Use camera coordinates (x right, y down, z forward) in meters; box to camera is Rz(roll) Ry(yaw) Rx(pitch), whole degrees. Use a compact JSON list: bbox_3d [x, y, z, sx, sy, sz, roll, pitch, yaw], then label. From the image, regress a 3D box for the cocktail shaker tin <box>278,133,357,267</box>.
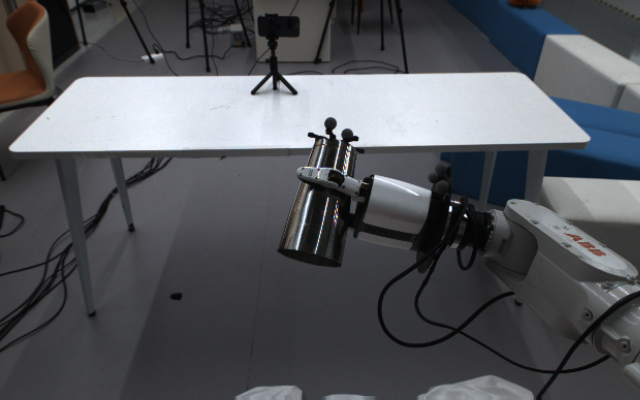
[{"bbox_3d":[0.003,0.003,0.693,0.093,0.093,0.170,11,74,12],"label":"cocktail shaker tin"}]
